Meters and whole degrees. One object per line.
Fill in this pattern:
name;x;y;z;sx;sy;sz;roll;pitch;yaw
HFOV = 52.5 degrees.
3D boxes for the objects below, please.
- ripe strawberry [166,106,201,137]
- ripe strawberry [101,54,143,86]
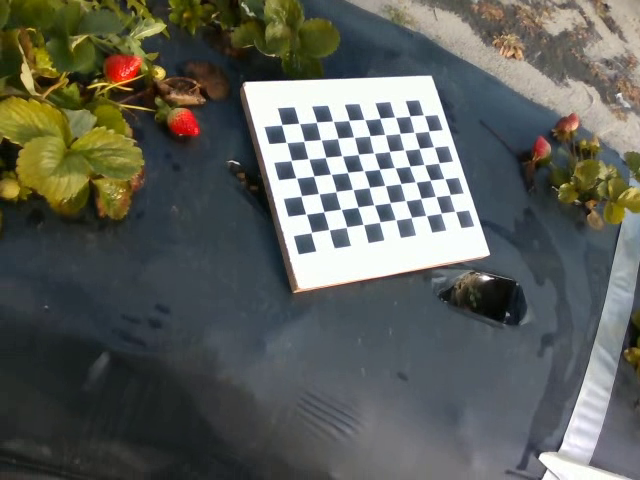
ripe strawberry;-0.156;-0.133;0.732;0.043;0.035;0.030;40;-29;-2
ripe strawberry;-0.221;-0.196;0.723;0.048;0.040;0.031;-29;-6;13
